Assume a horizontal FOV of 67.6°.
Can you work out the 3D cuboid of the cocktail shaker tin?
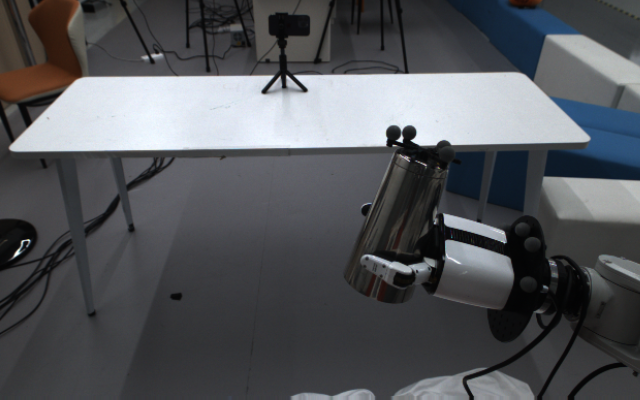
[{"bbox_3d":[0.097,0.028,0.590,0.093,0.170,0.093,14,20,-5],"label":"cocktail shaker tin"}]
